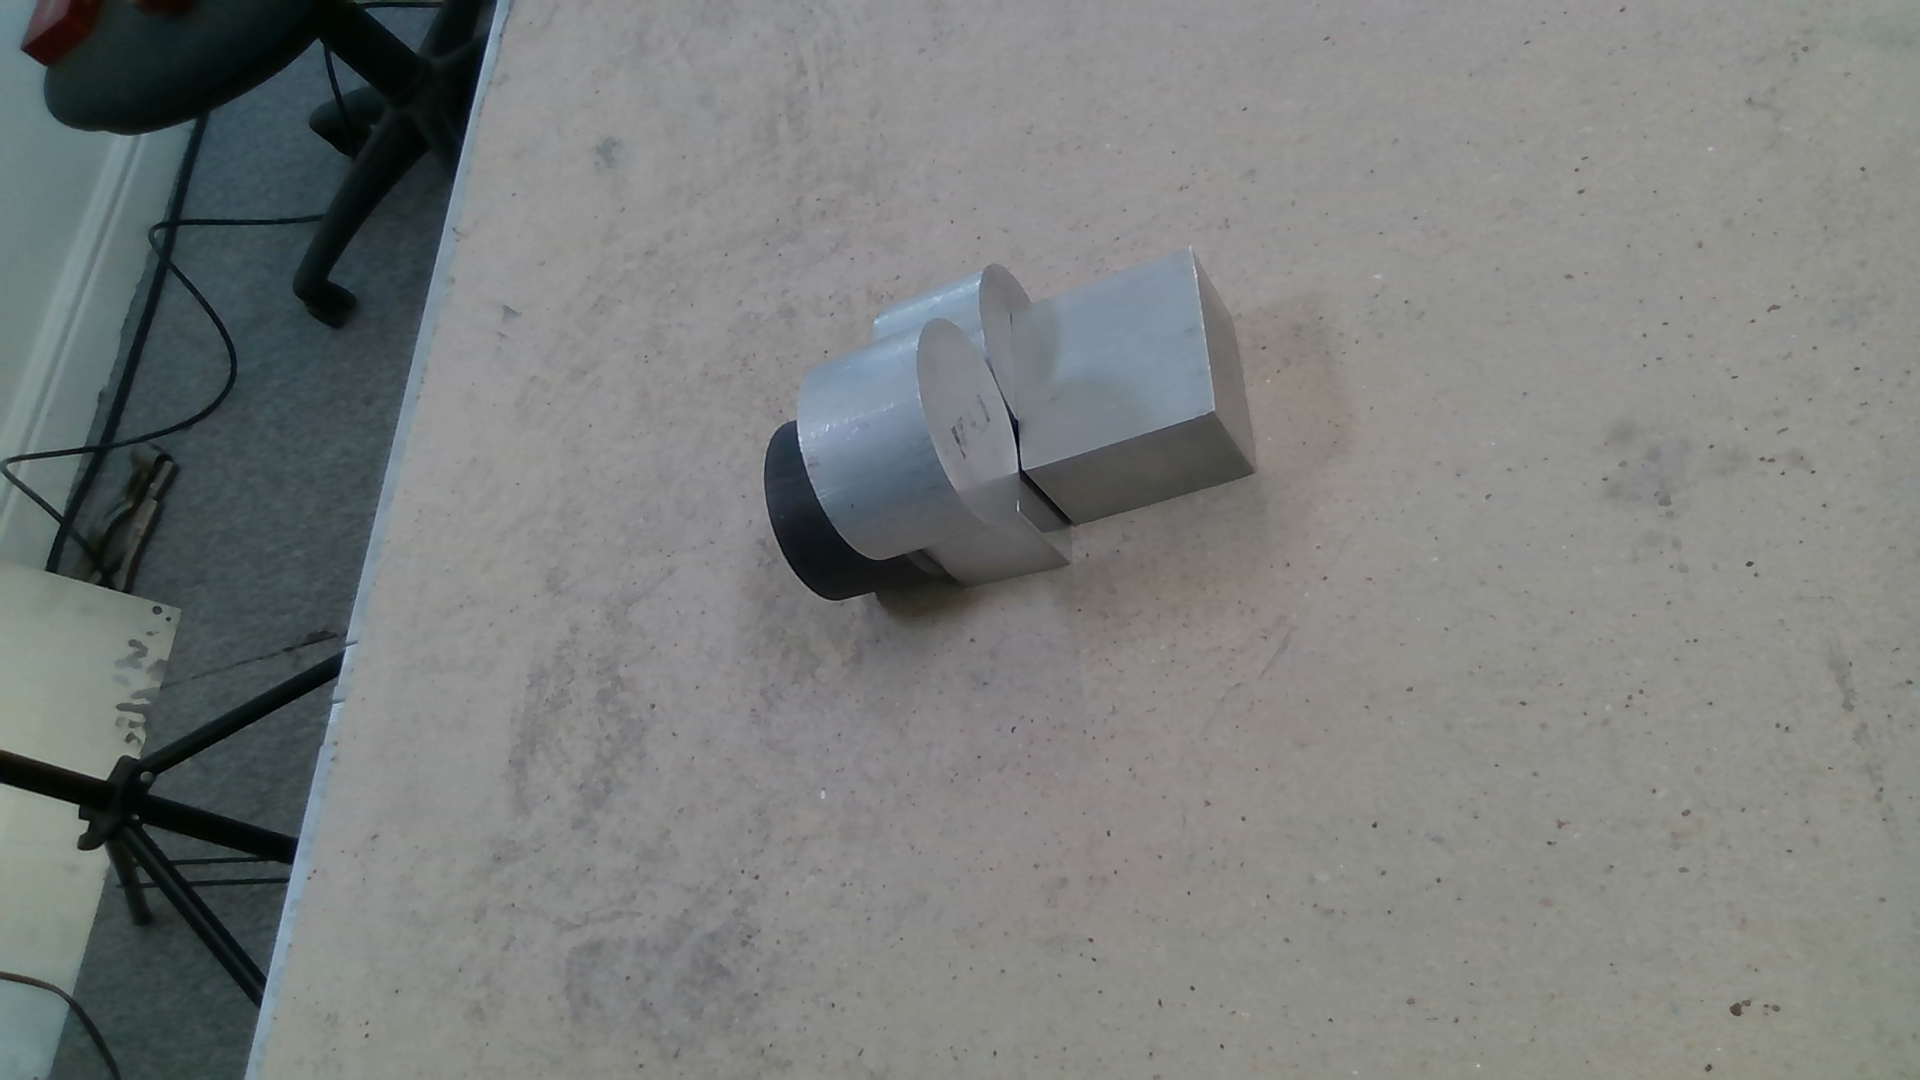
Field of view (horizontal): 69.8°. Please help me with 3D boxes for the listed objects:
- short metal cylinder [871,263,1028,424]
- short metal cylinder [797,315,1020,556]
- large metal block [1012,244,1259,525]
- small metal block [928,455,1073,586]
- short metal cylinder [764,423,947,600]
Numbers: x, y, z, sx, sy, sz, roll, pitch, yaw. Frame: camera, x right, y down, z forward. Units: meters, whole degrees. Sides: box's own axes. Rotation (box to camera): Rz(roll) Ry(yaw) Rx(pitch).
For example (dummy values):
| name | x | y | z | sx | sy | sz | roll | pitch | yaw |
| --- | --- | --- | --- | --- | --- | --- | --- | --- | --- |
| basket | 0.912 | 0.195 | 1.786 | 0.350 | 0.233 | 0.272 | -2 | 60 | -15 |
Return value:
| name | x | y | z | sx | sy | sz | roll | pitch | yaw |
| --- | --- | --- | --- | --- | --- | --- | --- | --- | --- |
| short metal cylinder | 0.005 | -0.071 | 0.586 | 0.050 | 0.080 | 0.080 | -16 | 58 | 24 |
| short metal cylinder | -0.018 | -0.038 | 0.518 | 0.050 | 0.080 | 0.080 | -16 | 58 | 24 |
| large metal block | 0.070 | -0.062 | 0.561 | 0.080 | 0.050 | 0.080 | -16 | 58 | 24 |
| small metal block | 0.013 | -0.007 | 0.569 | 0.050 | 0.050 | 0.025 | -14 | 59 | 25 |
| short metal cylinder | -0.039 | -0.019 | 0.586 | 0.050 | 0.080 | 0.080 | -15 | 59 | 25 |
